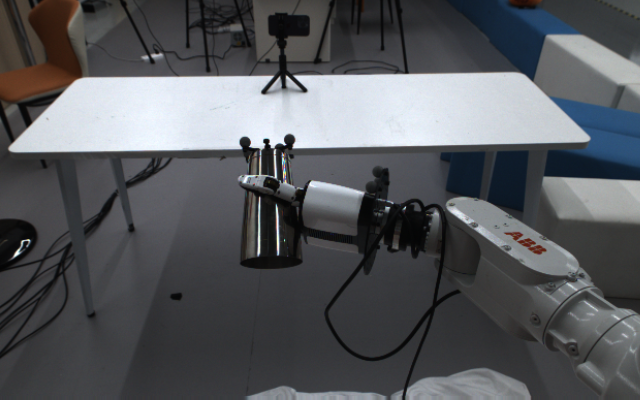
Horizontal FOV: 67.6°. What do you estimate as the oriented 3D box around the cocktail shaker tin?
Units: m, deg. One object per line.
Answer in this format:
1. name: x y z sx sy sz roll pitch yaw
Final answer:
1. cocktail shaker tin: -0.077 0.012 0.732 0.093 0.093 0.170 -2 70 -5
